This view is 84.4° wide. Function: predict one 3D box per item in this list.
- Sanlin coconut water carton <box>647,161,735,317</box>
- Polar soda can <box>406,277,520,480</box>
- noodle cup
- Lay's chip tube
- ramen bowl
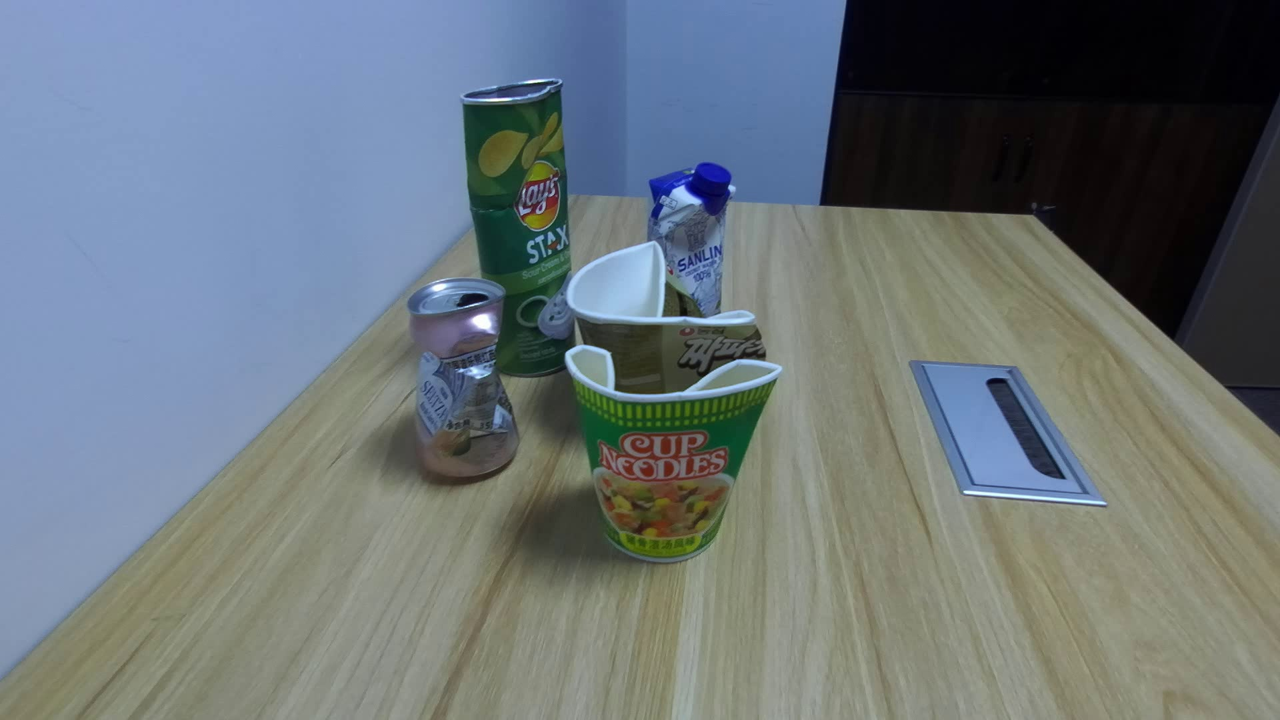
[{"bbox_3d":[0.039,-0.089,0.569,0.057,0.142,0.078,30,40,32],"label":"Sanlin coconut water carton"},{"bbox_3d":[-0.108,0.012,0.429,0.074,0.114,0.070,13,26,17],"label":"Polar soda can"},{"bbox_3d":[0.010,0.042,0.365,0.082,0.122,0.075,33,51,29],"label":"noodle cup"},{"bbox_3d":[-0.083,-0.090,0.512,0.069,0.199,0.074,-5,30,-9],"label":"Lay's chip tube"},{"bbox_3d":[0.018,-0.013,0.481,0.137,0.098,0.137,0,28,0],"label":"ramen bowl"}]
